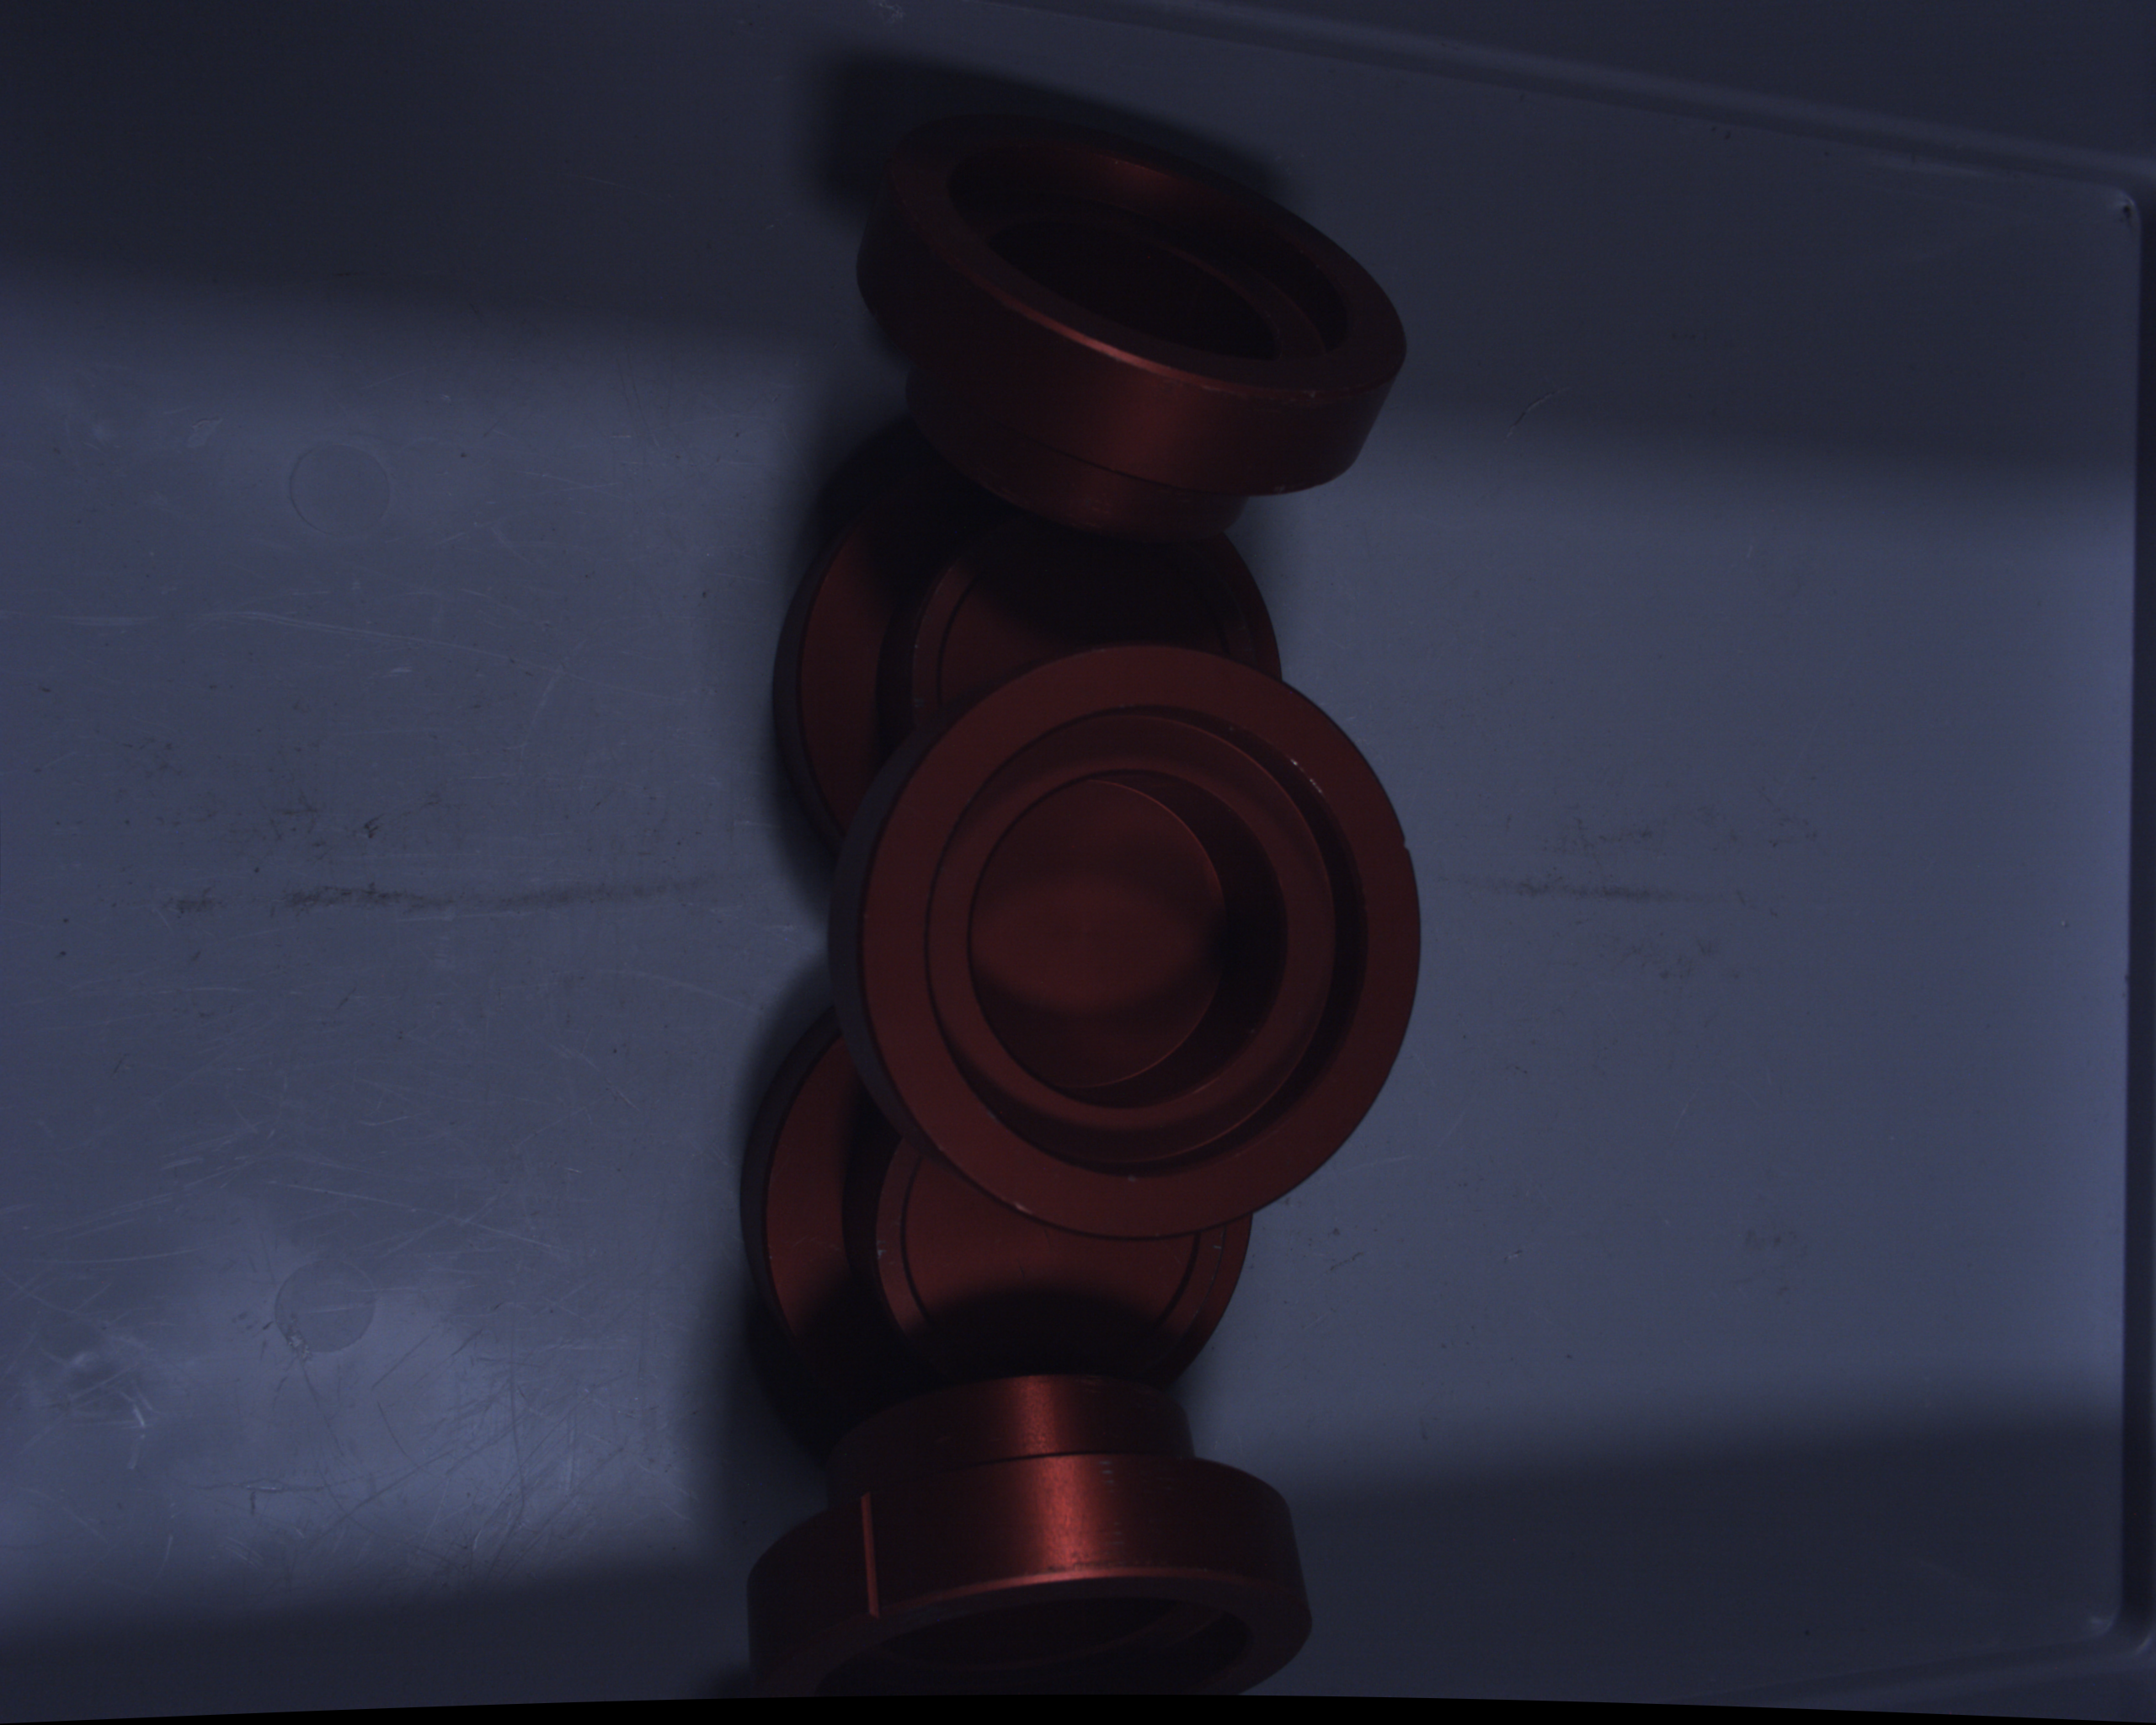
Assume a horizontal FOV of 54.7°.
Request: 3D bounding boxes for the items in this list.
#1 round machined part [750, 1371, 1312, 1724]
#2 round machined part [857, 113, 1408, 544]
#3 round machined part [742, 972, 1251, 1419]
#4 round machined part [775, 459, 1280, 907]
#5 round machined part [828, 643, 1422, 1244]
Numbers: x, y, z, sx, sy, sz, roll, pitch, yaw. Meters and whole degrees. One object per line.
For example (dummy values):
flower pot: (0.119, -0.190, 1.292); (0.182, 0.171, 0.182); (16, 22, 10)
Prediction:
round machined part: (-0.010, 0.126, 0.378); (0.099, 0.097, 0.042); (7, 50, -20)
round machined part: (0.007, -0.095, 0.384); (0.099, 0.098, 0.042); (8, 130, -20)
round machined part: (-0.011, 0.065, 0.396); (0.099, 0.042, 0.097); (0, 90, -21)
round machined part: (-0.005, -0.032, 0.398); (0.099, 0.042, 0.097); (0, 90, -21)
round machined part: (0.005, 0.013, 0.357); (0.099, 0.042, 0.097); (0, 90, -21)
